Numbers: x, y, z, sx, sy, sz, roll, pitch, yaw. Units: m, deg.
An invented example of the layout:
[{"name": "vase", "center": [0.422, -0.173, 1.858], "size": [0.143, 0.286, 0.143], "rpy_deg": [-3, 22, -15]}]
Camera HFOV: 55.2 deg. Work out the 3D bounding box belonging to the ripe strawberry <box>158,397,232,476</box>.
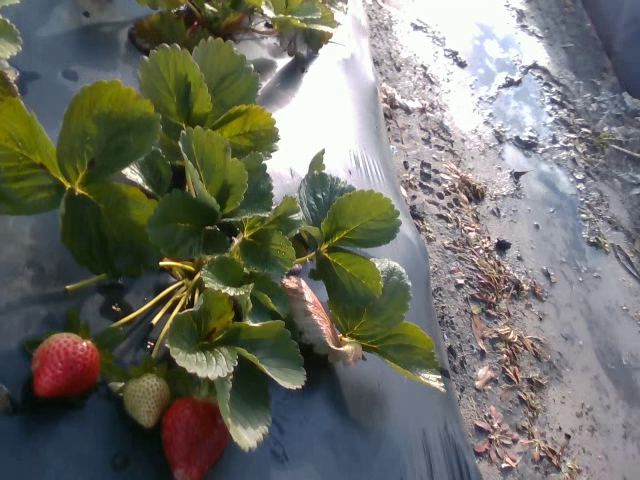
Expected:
[{"name": "ripe strawberry", "center": [-0.087, 0.132, 0.394], "size": [0.048, 0.065, 0.050], "rpy_deg": [0, -36, 17]}]
